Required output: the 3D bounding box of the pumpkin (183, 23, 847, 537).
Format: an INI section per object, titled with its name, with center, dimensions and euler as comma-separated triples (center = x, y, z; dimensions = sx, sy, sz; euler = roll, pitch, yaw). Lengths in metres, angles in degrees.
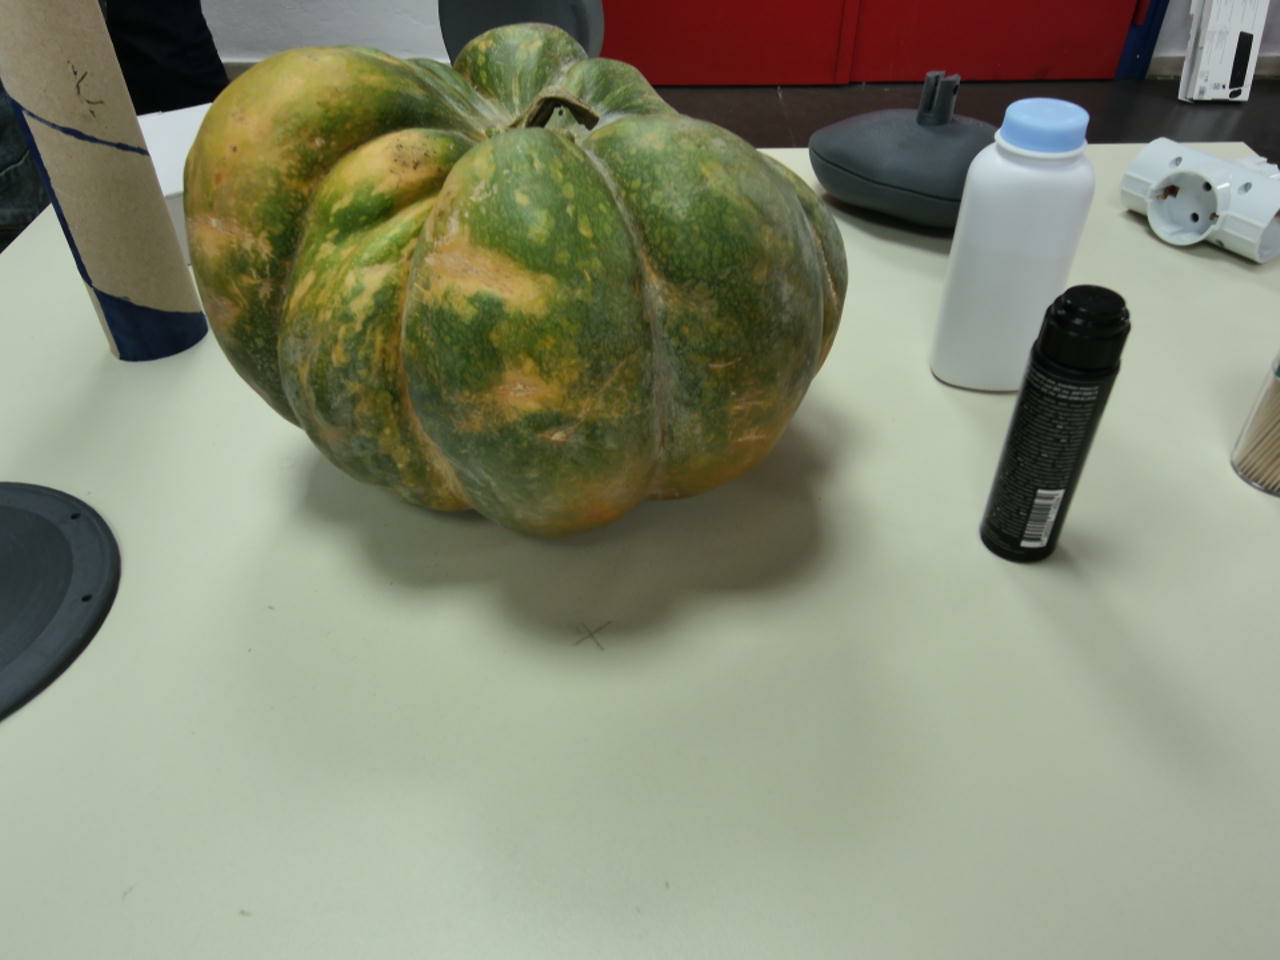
[pumpkin]
center = -0.046, -0.092, 0.414
dimensions = 0.270, 0.173, 0.237
euler = 25, 45, 28
